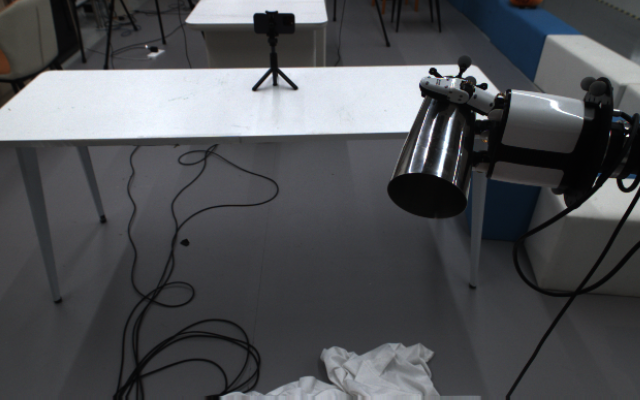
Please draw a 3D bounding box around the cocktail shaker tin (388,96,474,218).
[{"bbox_3d":[0.150,-0.076,0.603,0.093,0.093,0.170,13,59,16],"label":"cocktail shaker tin"}]
